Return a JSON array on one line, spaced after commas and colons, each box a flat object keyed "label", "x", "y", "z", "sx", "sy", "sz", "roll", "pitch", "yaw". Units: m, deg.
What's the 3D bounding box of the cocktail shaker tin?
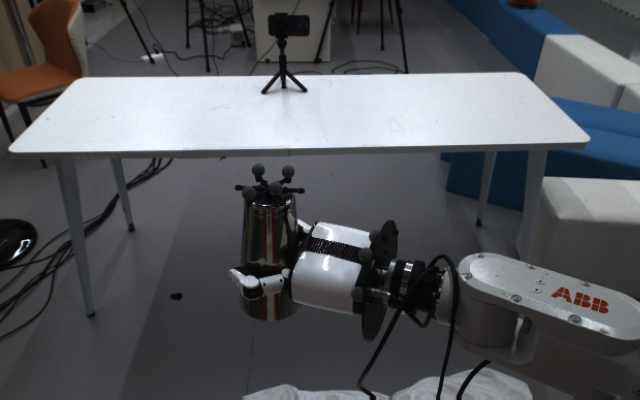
[{"label": "cocktail shaker tin", "x": -0.065, "y": 0.069, "z": 0.662, "sx": 0.093, "sy": 0.170, "sz": 0.093, "roll": 2, "pitch": 28, "yaw": -1}]
